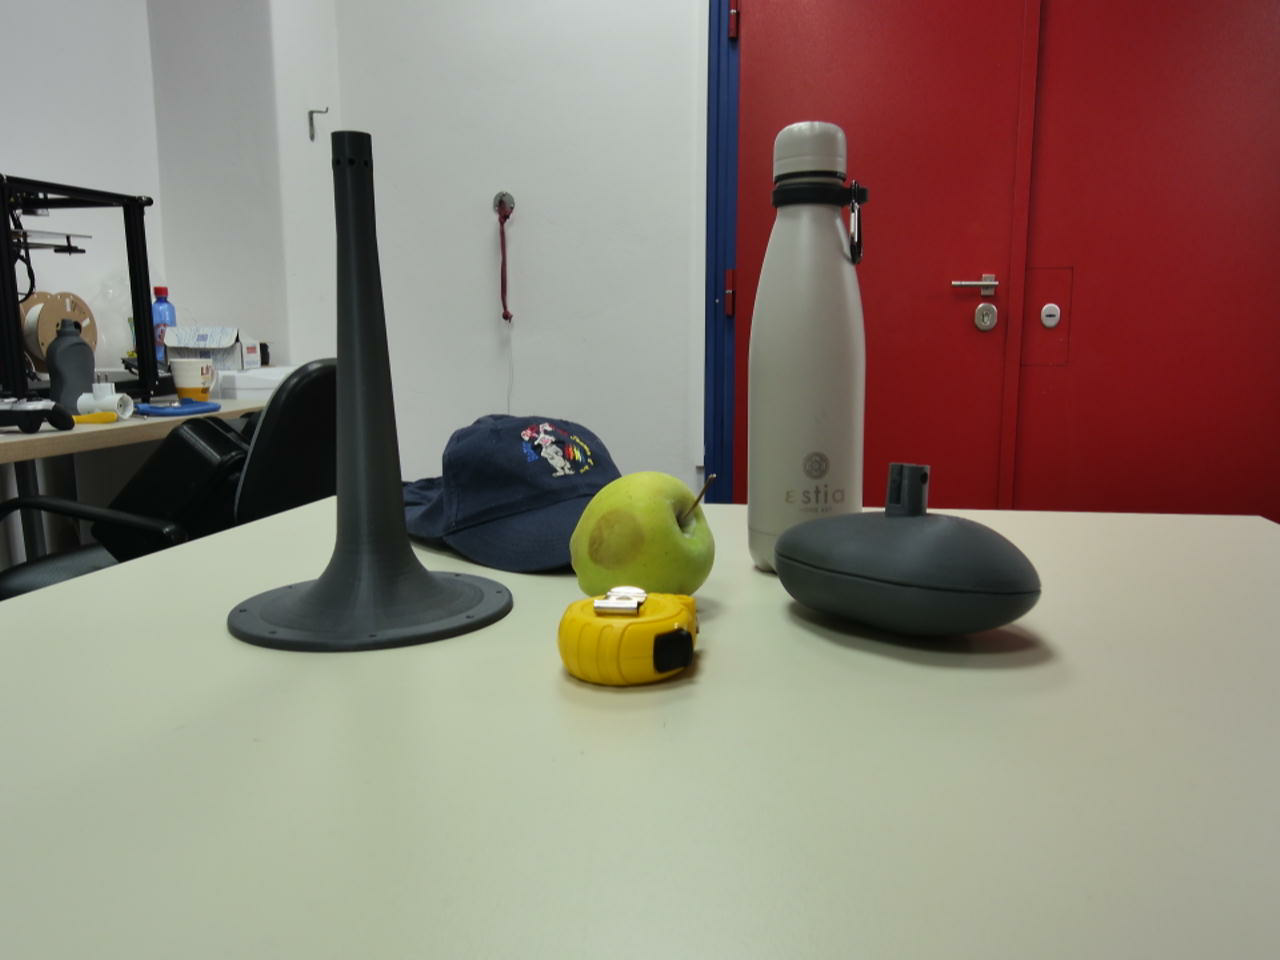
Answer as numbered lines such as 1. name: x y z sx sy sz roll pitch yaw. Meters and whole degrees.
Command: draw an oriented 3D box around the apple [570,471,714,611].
1. apple: 0.002 0.034 0.549 0.072 0.075 0.077 -5 8 -34
